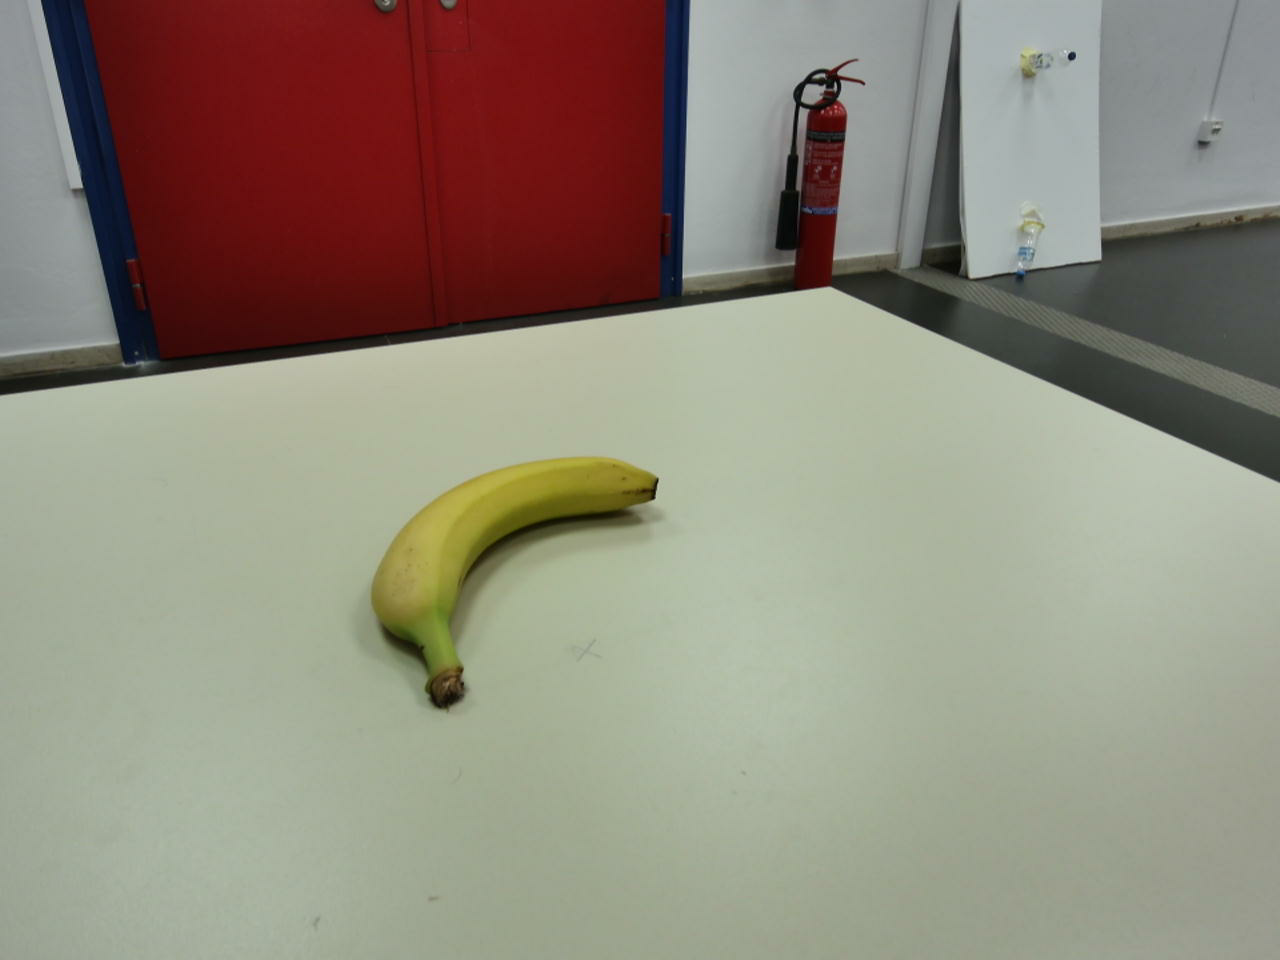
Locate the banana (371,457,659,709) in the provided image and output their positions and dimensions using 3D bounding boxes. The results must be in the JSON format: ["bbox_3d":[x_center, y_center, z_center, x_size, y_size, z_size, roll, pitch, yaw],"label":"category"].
[{"bbox_3d":[-0.073,0.031,0.504,0.094,0.041,0.196,14,28,26],"label":"banana"}]
